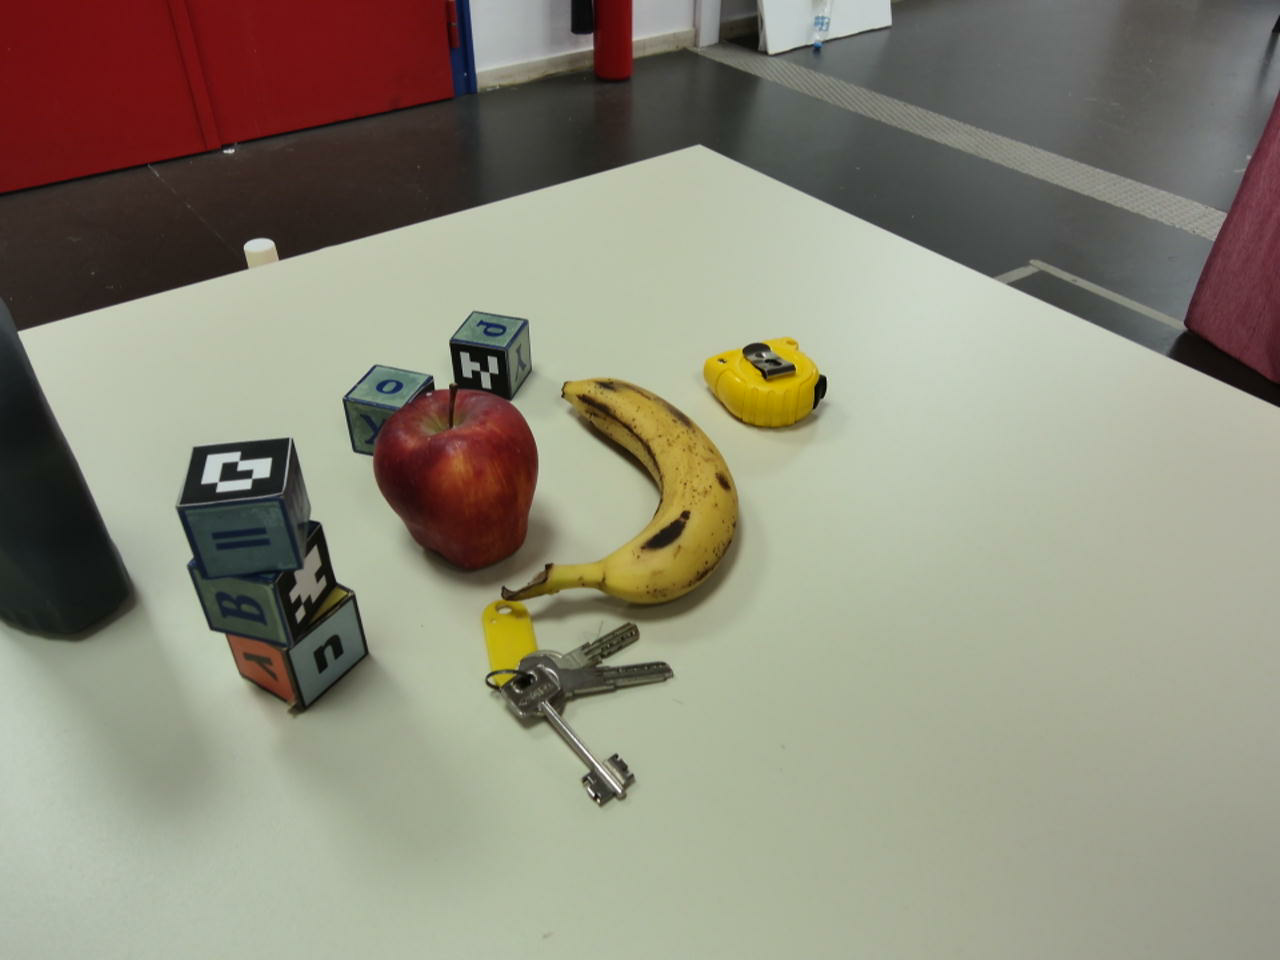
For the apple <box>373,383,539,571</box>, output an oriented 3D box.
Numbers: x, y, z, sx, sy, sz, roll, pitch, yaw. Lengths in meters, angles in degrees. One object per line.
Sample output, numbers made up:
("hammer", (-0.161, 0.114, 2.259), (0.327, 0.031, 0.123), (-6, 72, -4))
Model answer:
("apple", (-0.088, -0.006, 0.486), (0.083, 0.090, 0.083), (1, 38, -1))
